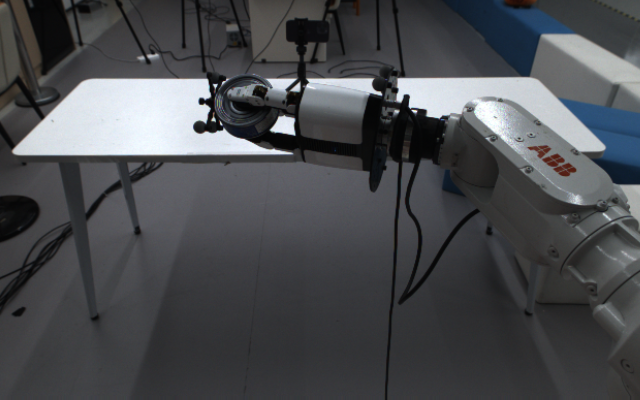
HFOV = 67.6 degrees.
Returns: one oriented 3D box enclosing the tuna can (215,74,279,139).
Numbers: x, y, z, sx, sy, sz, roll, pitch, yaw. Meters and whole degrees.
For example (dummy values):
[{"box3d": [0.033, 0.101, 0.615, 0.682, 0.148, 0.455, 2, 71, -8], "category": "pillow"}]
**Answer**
[{"box3d": [-0.100, -0.131, 0.665, 0.085, 0.034, 0.085, -2, 69, 6], "category": "tuna can"}]
